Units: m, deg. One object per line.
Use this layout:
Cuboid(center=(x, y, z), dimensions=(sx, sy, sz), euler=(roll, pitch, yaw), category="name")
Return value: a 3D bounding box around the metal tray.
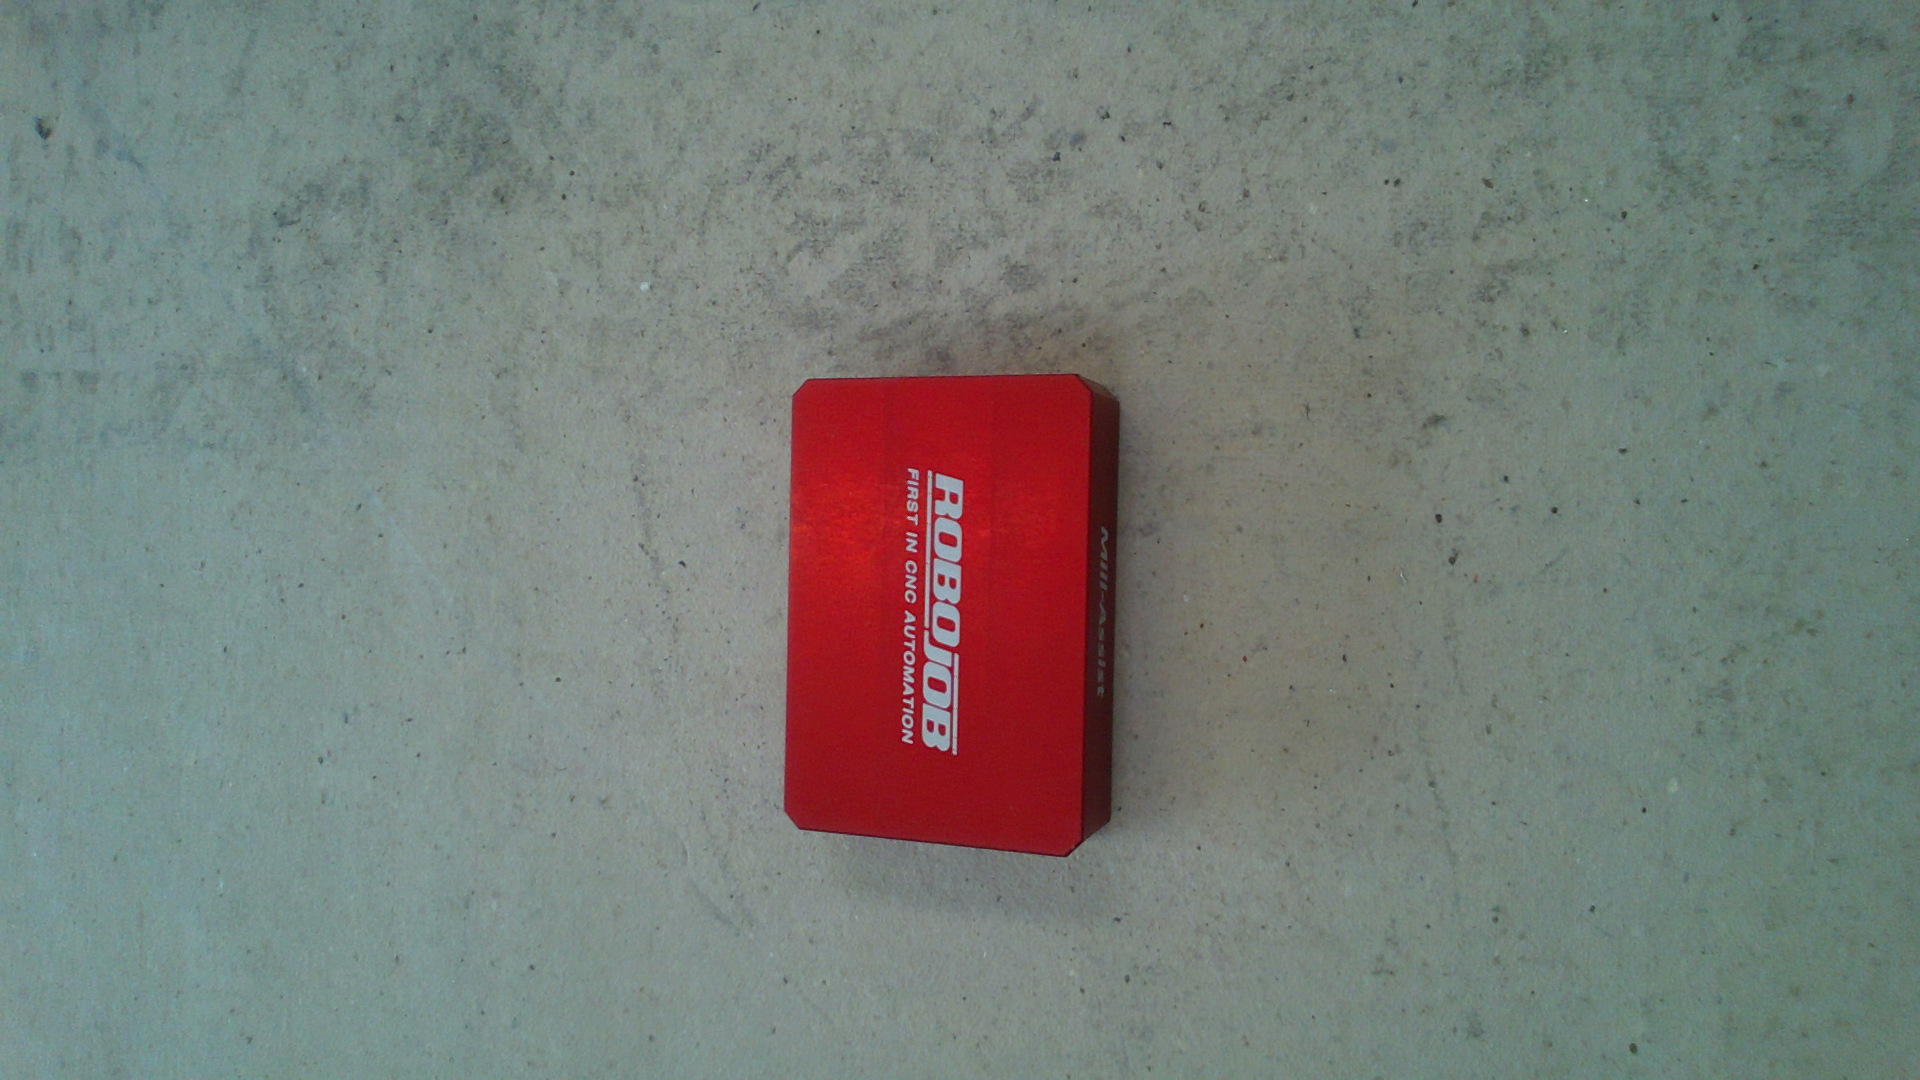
Cuboid(center=(-0.003, 0.019, 0.394), dimensions=(0.090, 0.030, 0.130), euler=(1, 91, 19), category="metal tray")
